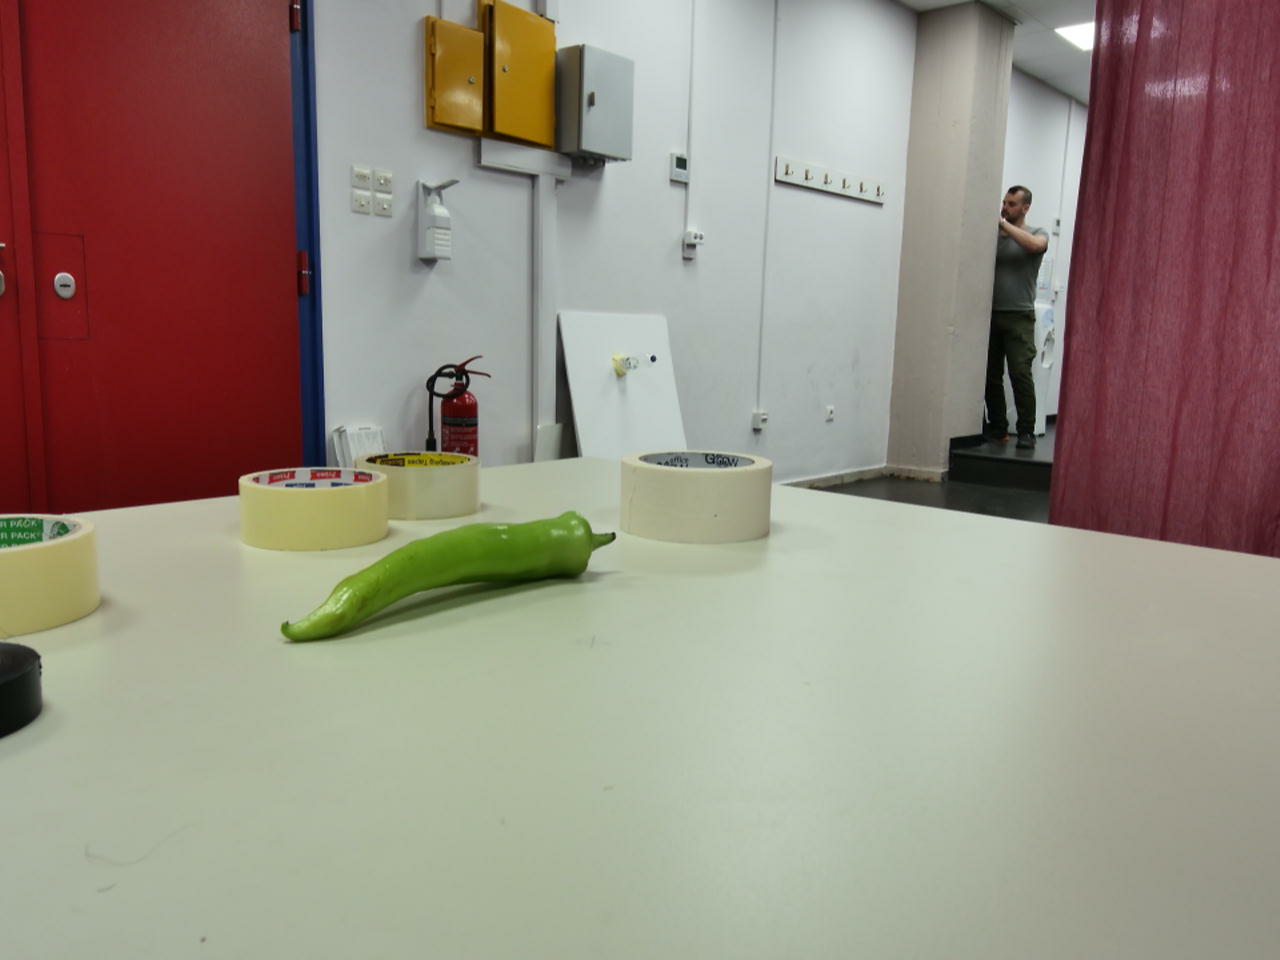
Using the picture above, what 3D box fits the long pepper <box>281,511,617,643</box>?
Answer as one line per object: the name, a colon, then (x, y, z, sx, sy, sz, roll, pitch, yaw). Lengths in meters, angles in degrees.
long pepper: (-0.094, 0.043, 0.510, 0.047, 0.038, 0.197, 6, 9, 43)
